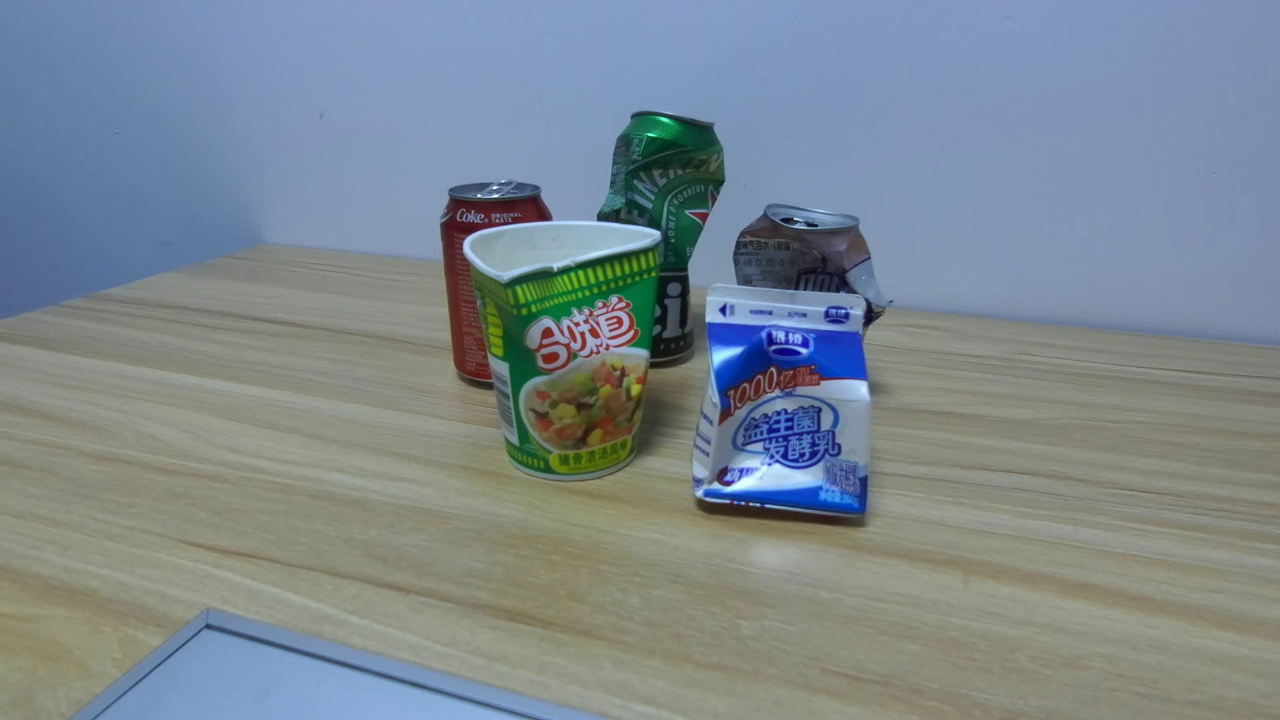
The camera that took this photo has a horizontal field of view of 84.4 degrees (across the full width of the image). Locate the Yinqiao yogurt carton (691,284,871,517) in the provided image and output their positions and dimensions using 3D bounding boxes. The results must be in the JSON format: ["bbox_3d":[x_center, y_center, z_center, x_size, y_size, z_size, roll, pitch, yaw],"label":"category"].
[{"bbox_3d":[0.066,0.013,0.327,0.077,0.094,0.071,4,18,7],"label":"Yinqiao yogurt carton"}]

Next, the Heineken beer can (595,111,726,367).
[{"bbox_3d":[0.011,-0.074,0.457,0.067,0.159,0.079,9,12,16],"label":"Heineken beer can"}]

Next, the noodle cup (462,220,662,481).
[{"bbox_3d":[-0.035,-0.007,0.352,0.094,0.109,0.086,-9,25,-20],"label":"noodle cup"}]

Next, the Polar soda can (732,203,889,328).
[{"bbox_3d":[0.096,-0.031,0.409,0.074,0.114,0.070,-7,30,-10],"label":"Polar soda can"}]

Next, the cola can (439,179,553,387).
[{"bbox_3d":[-0.085,-0.047,0.436,0.068,0.120,0.068,0,19,0],"label":"cola can"}]
